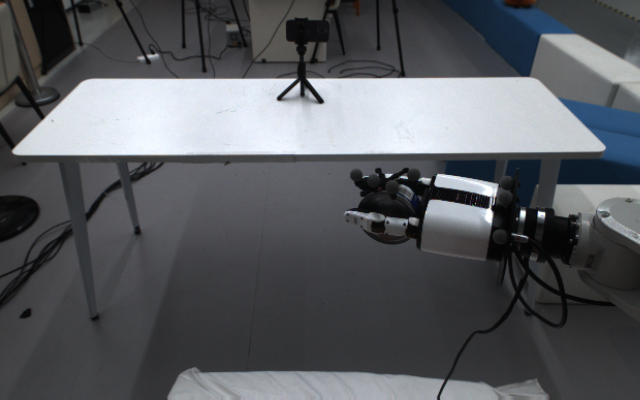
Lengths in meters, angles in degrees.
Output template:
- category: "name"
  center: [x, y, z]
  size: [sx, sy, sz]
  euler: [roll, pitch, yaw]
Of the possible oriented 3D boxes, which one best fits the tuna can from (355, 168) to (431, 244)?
- category: "tuna can"
  center: [0.099, 0.016, 0.672]
  size: [0.085, 0.085, 0.034]
  euler: [14, 35, 17]
